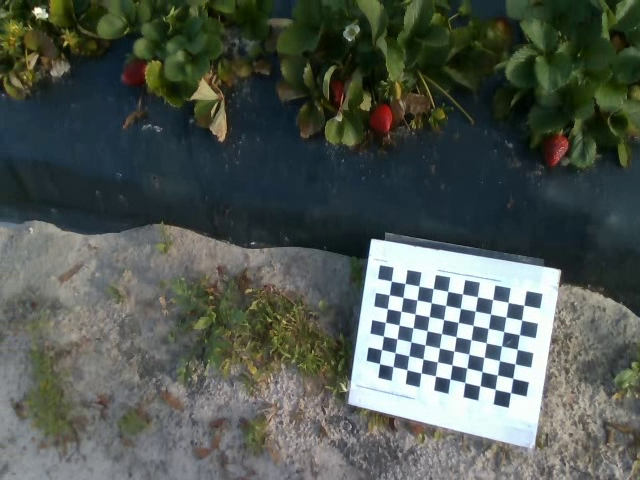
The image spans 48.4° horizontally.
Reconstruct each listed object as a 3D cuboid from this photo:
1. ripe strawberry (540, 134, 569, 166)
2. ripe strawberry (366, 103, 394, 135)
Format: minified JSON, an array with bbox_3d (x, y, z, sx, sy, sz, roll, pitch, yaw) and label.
[{"bbox_3d":[0.231,-0.085,0.692,0.029,0.036,0.021,11,-7,21],"label":"ripe strawberry"},{"bbox_3d":[0.065,-0.122,0.734,0.031,0.030,0.025,-29,-30,12],"label":"ripe strawberry"}]
